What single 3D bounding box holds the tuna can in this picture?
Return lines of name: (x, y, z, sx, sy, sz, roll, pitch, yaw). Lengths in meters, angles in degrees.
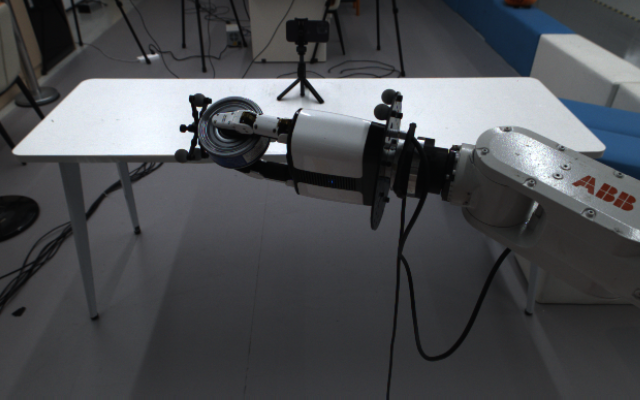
tuna can: (-0.104, -0.085, 0.599, 0.085, 0.034, 0.085, -2, 69, 6)
